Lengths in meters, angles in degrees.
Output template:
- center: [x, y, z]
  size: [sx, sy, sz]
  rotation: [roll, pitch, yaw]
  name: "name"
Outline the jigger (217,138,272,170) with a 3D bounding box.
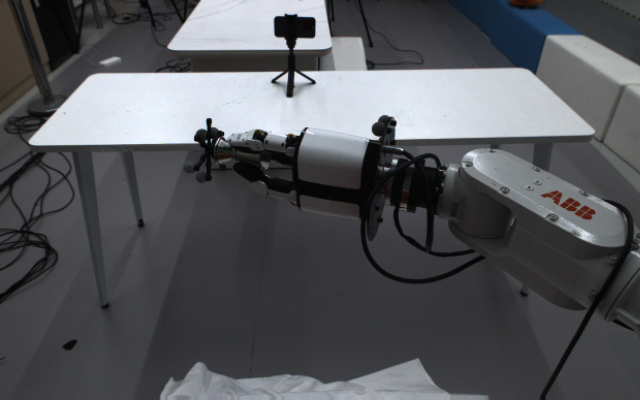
- center: [-0.100, -0.068, 0.666]
  size: [0.071, 0.043, 0.043]
  rotation: [7, 35, 12]
  name: "jigger"
